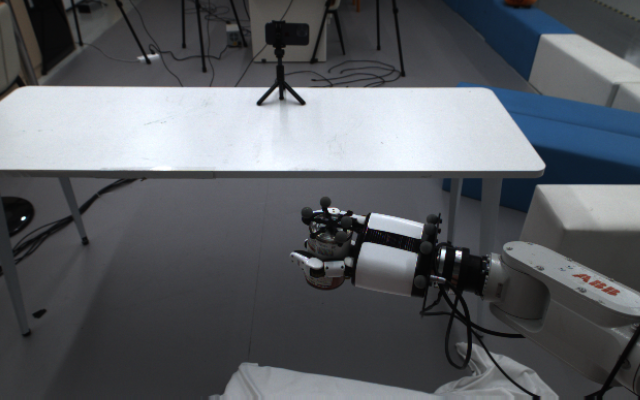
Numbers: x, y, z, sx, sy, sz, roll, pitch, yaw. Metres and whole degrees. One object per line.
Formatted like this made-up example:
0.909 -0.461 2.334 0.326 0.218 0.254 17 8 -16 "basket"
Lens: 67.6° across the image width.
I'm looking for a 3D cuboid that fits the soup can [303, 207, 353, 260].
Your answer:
0.013 0.081 0.745 0.067 0.101 0.067 5 37 -3 "soup can"
